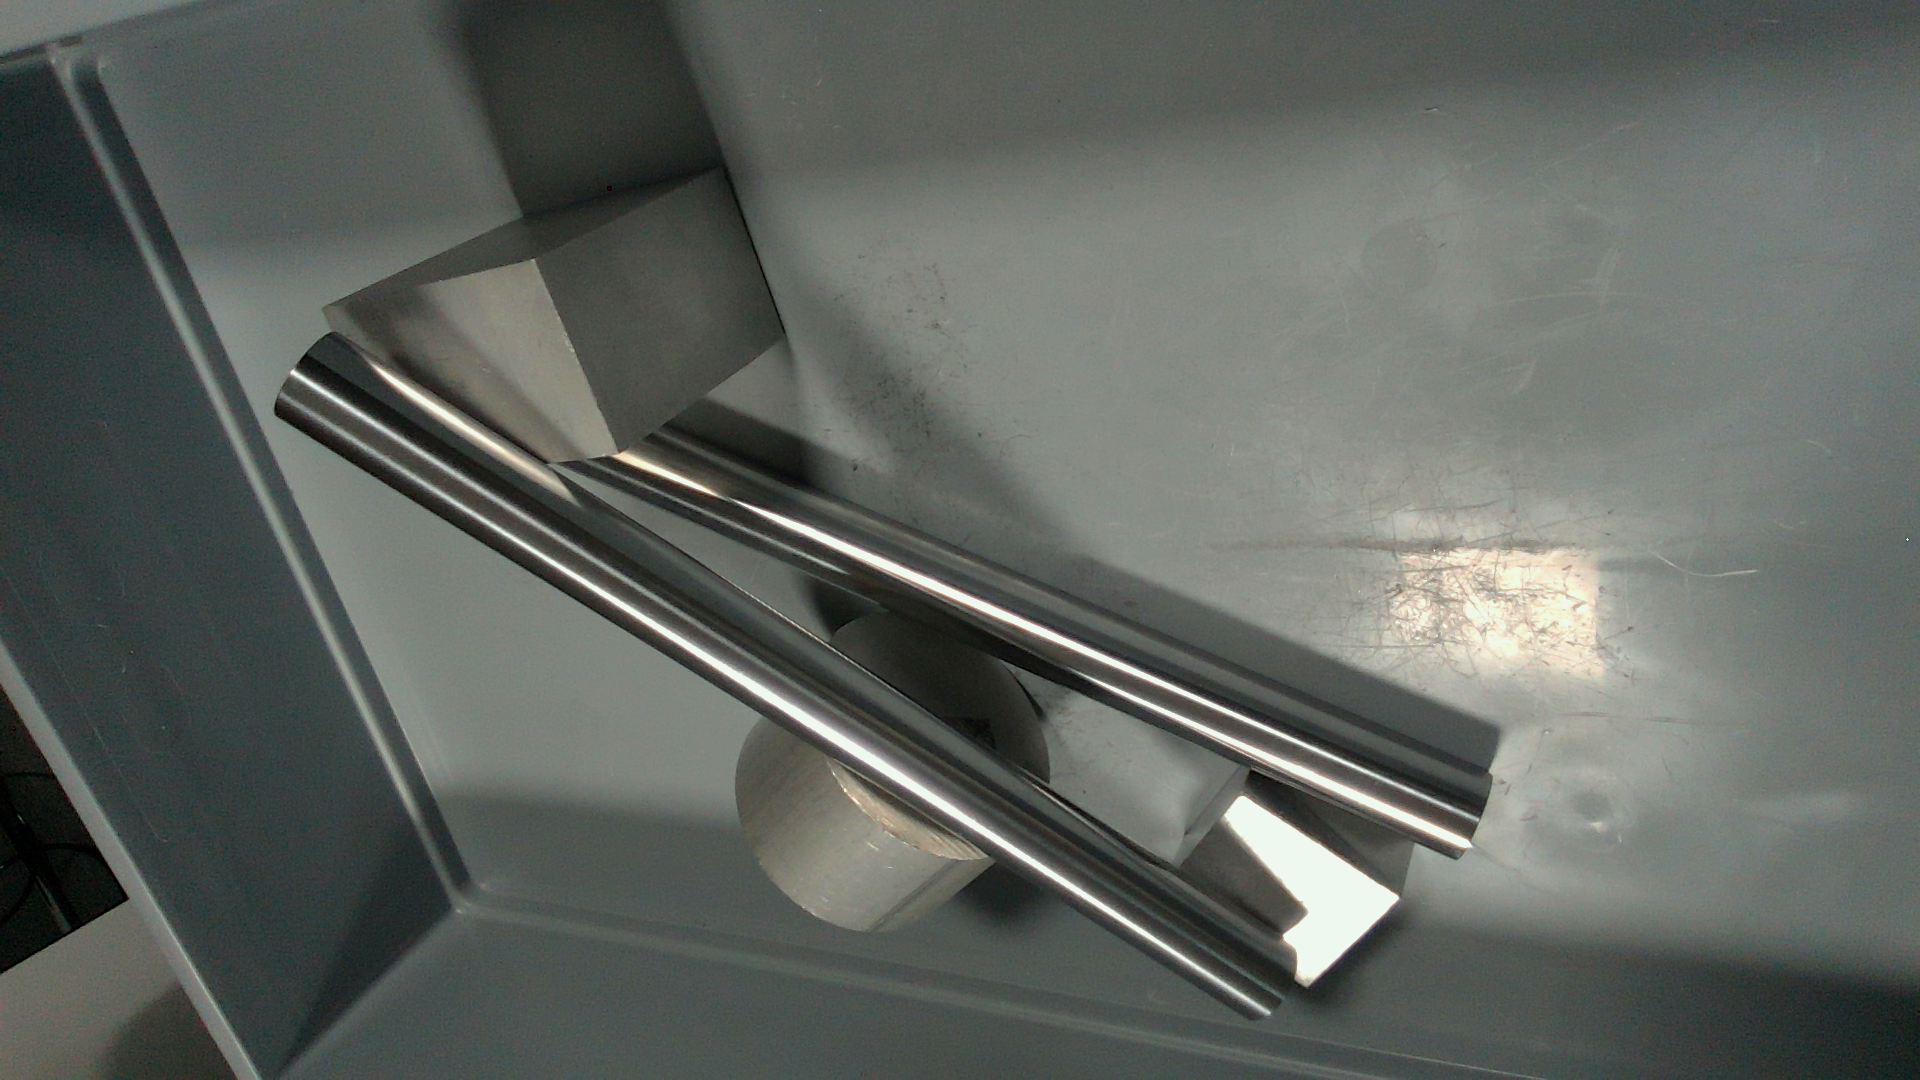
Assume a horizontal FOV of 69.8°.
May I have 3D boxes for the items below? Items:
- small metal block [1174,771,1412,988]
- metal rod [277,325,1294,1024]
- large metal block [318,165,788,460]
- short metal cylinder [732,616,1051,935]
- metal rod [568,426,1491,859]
[{"bbox_3d":[0.094,0.094,0.400,0.050,0.025,0.050,33,129,7],"label":"small metal block"},{"bbox_3d":[-0.036,0.042,0.361,0.300,0.025,0.025,34,130,-11],"label":"metal rod"},{"bbox_3d":[-0.108,-0.060,0.378,0.080,0.080,0.050,-4,117,30],"label":"large metal block"},{"bbox_3d":[-0.020,0.069,0.409,0.080,0.080,0.050,42,129,-1],"label":"short metal cylinder"},{"bbox_3d":[0.002,0.017,0.401,0.299,0.025,0.025,23,127,14],"label":"metal rod"}]
